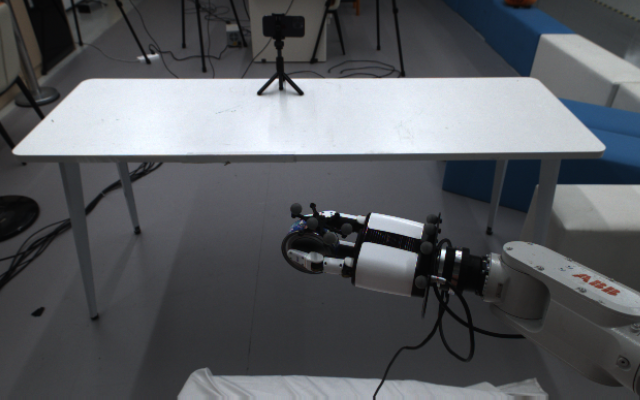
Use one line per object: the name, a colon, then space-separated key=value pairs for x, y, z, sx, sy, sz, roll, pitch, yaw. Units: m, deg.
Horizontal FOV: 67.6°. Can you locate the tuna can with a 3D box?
tuna can: x=-0.013 y=0.072 z=0.745 sx=0.085 sy=0.085 sz=0.034 roll=9 pitch=35 yaw=10
